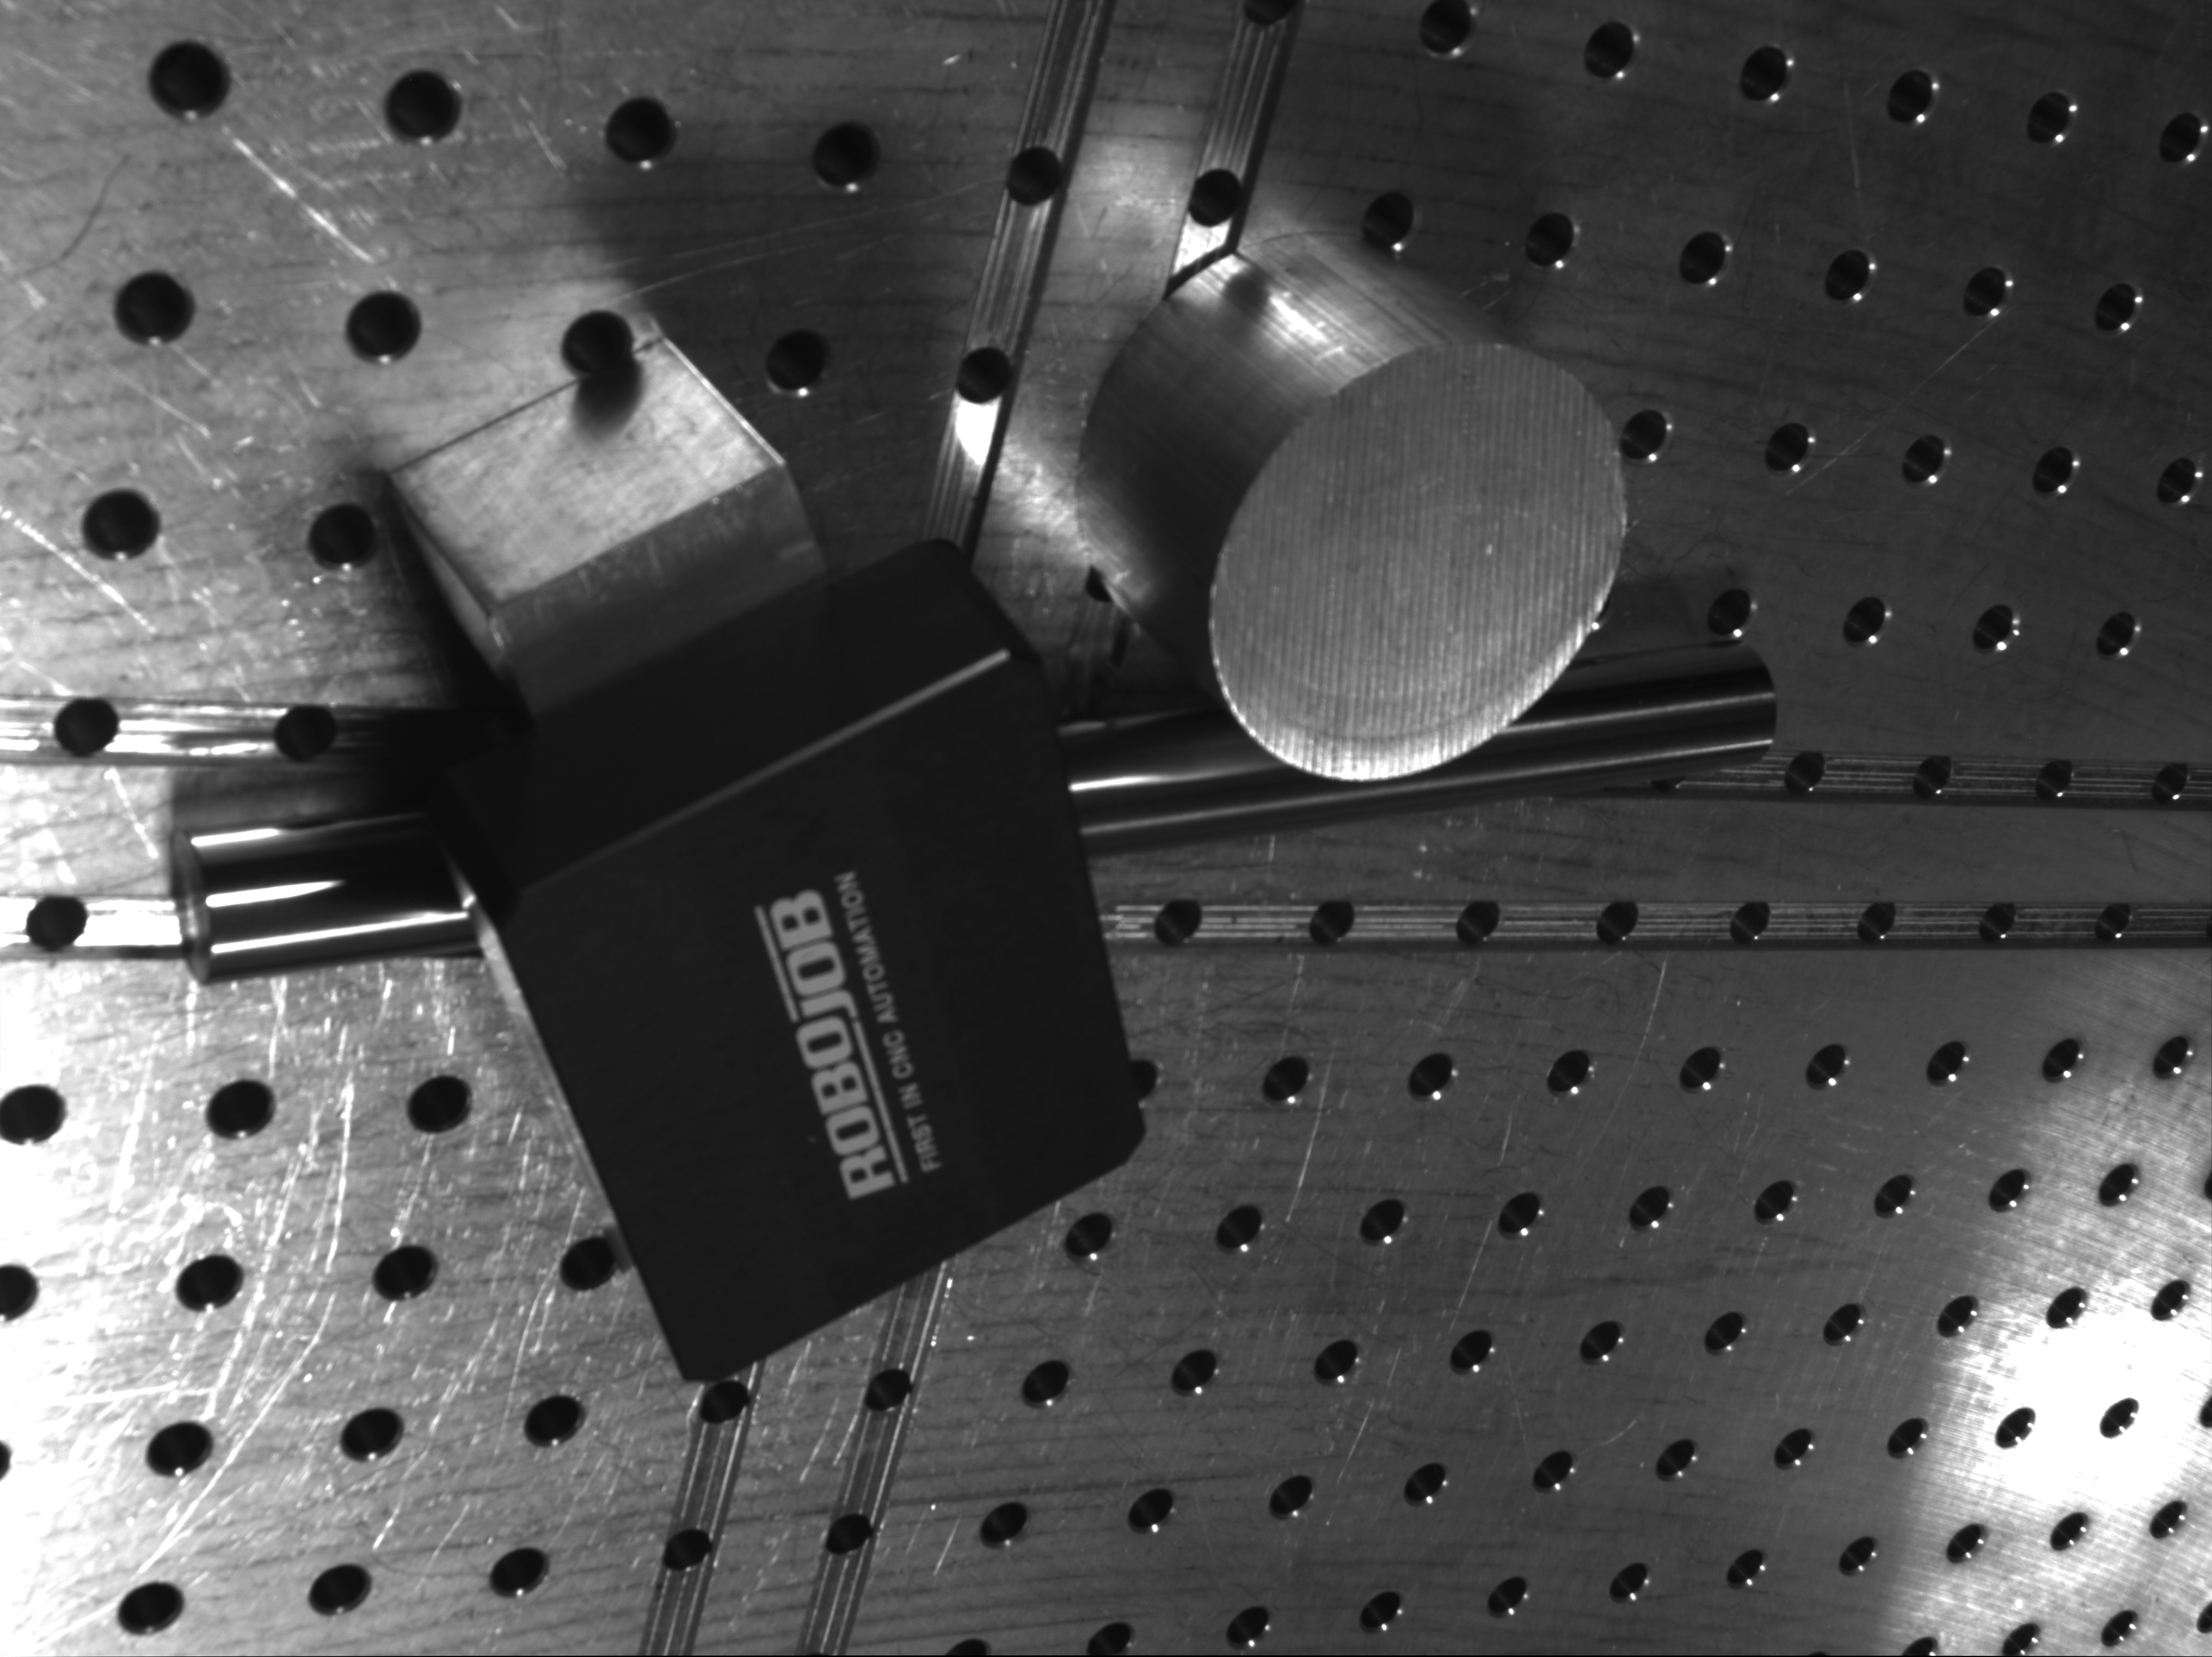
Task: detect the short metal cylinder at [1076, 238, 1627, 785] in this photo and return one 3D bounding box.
[{"bbox_3d":[0.042,-0.054,0.627,0.080,0.050,0.080,-15,125,-22],"label":"short metal cylinder"}]

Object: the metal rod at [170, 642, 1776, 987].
[{"bbox_3d":[-0.011,-0.006,0.644,0.301,0.025,0.025,-8,122,-26],"label":"metal rod"}]

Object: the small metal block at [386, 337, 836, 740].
[{"bbox_3d":[-0.076,-0.045,0.564,0.050,0.050,0.025,-28,129,-12],"label":"small metal block"}]

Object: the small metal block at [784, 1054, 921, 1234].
[{"bbox_3d":[-0.039,0.047,0.659,0.050,0.025,0.050,-22,127,-18],"label":"small metal block"}]

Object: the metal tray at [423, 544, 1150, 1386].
[{"bbox_3d":[-0.047,0.025,0.588,0.090,0.030,0.130,-27,140,-13],"label":"metal tray"}]
